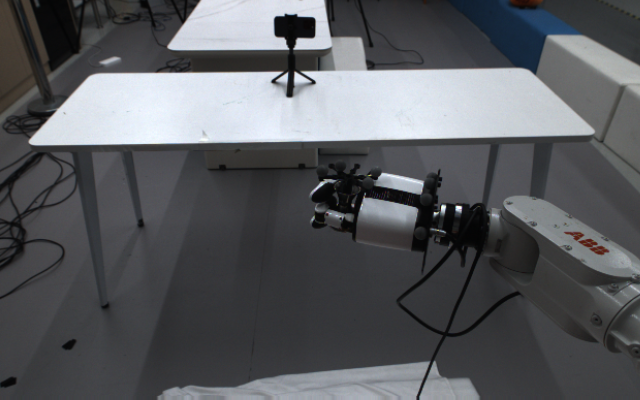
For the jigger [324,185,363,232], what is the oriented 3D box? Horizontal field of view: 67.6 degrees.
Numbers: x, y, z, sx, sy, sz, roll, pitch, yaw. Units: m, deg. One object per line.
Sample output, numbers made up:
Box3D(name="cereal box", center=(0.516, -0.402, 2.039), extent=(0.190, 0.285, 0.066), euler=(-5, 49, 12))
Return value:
Box3D(name="jigger", center=(0.042, 0.007, 0.743), extent=(0.043, 0.071, 0.043), euler=(4, 31, -2))
